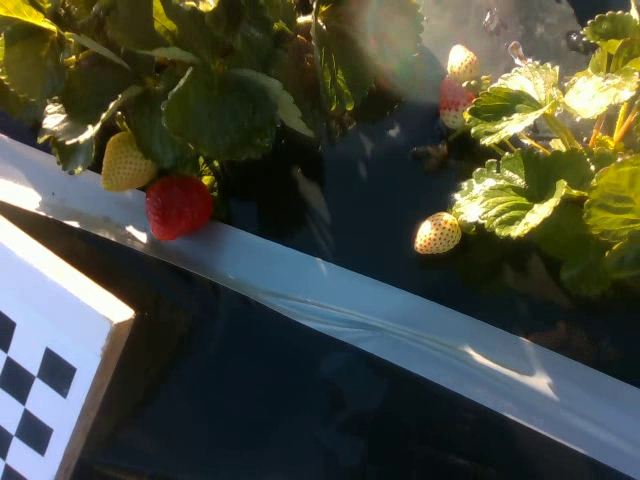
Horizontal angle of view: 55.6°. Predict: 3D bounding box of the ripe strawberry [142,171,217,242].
[{"bbox_3d":[-0.091,-0.019,0.370,0.045,0.048,0.064,-36,24,25],"label":"ripe strawberry"}]
